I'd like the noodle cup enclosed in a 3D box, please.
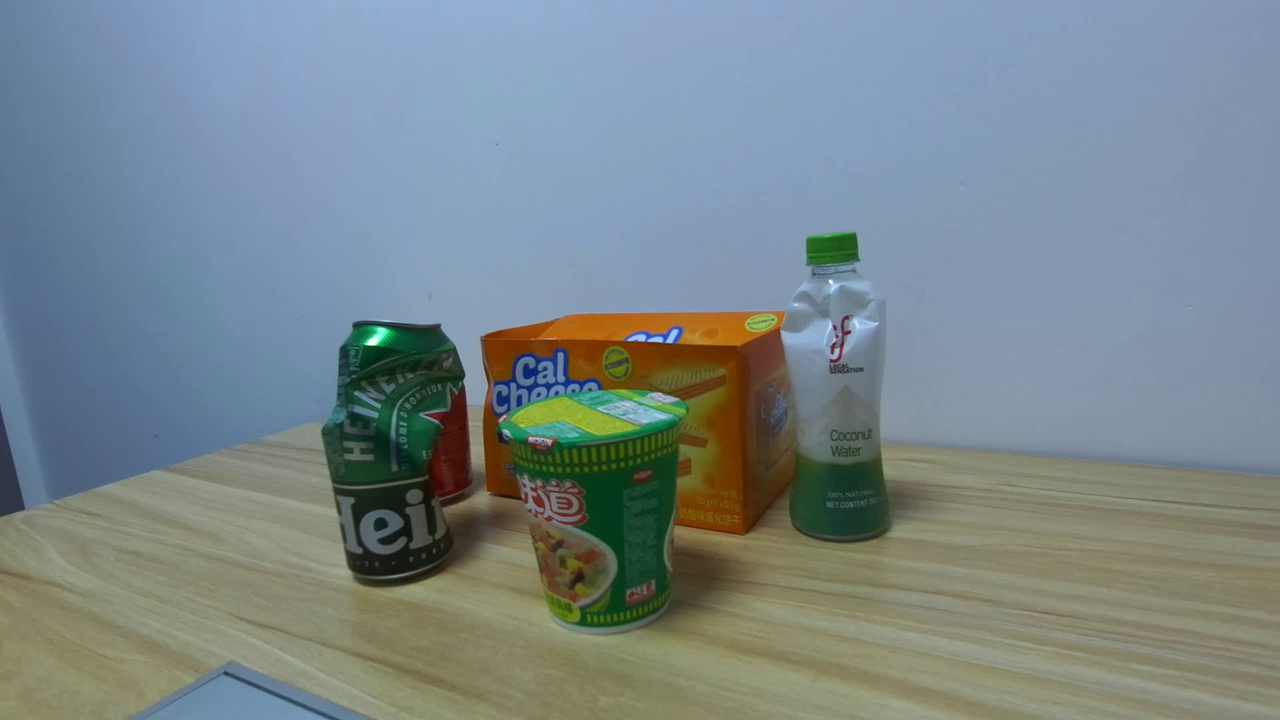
[{"bbox_3d":[-0.021,0.079,0.379,0.097,0.110,0.097,-4,12,1],"label":"noodle cup"}]

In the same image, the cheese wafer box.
[{"bbox_3d":[-0.001,0.037,0.553,0.229,0.132,0.153,3,14,28],"label":"cheese wafer box"}]

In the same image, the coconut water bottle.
[{"bbox_3d":[0.121,0.017,0.444,0.069,0.186,0.069,-4,12,1],"label":"coconut water bottle"}]

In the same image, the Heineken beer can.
[{"bbox_3d":[-0.152,0.056,0.441,0.067,0.159,0.079,-1,3,5],"label":"Heineken beer can"}]
